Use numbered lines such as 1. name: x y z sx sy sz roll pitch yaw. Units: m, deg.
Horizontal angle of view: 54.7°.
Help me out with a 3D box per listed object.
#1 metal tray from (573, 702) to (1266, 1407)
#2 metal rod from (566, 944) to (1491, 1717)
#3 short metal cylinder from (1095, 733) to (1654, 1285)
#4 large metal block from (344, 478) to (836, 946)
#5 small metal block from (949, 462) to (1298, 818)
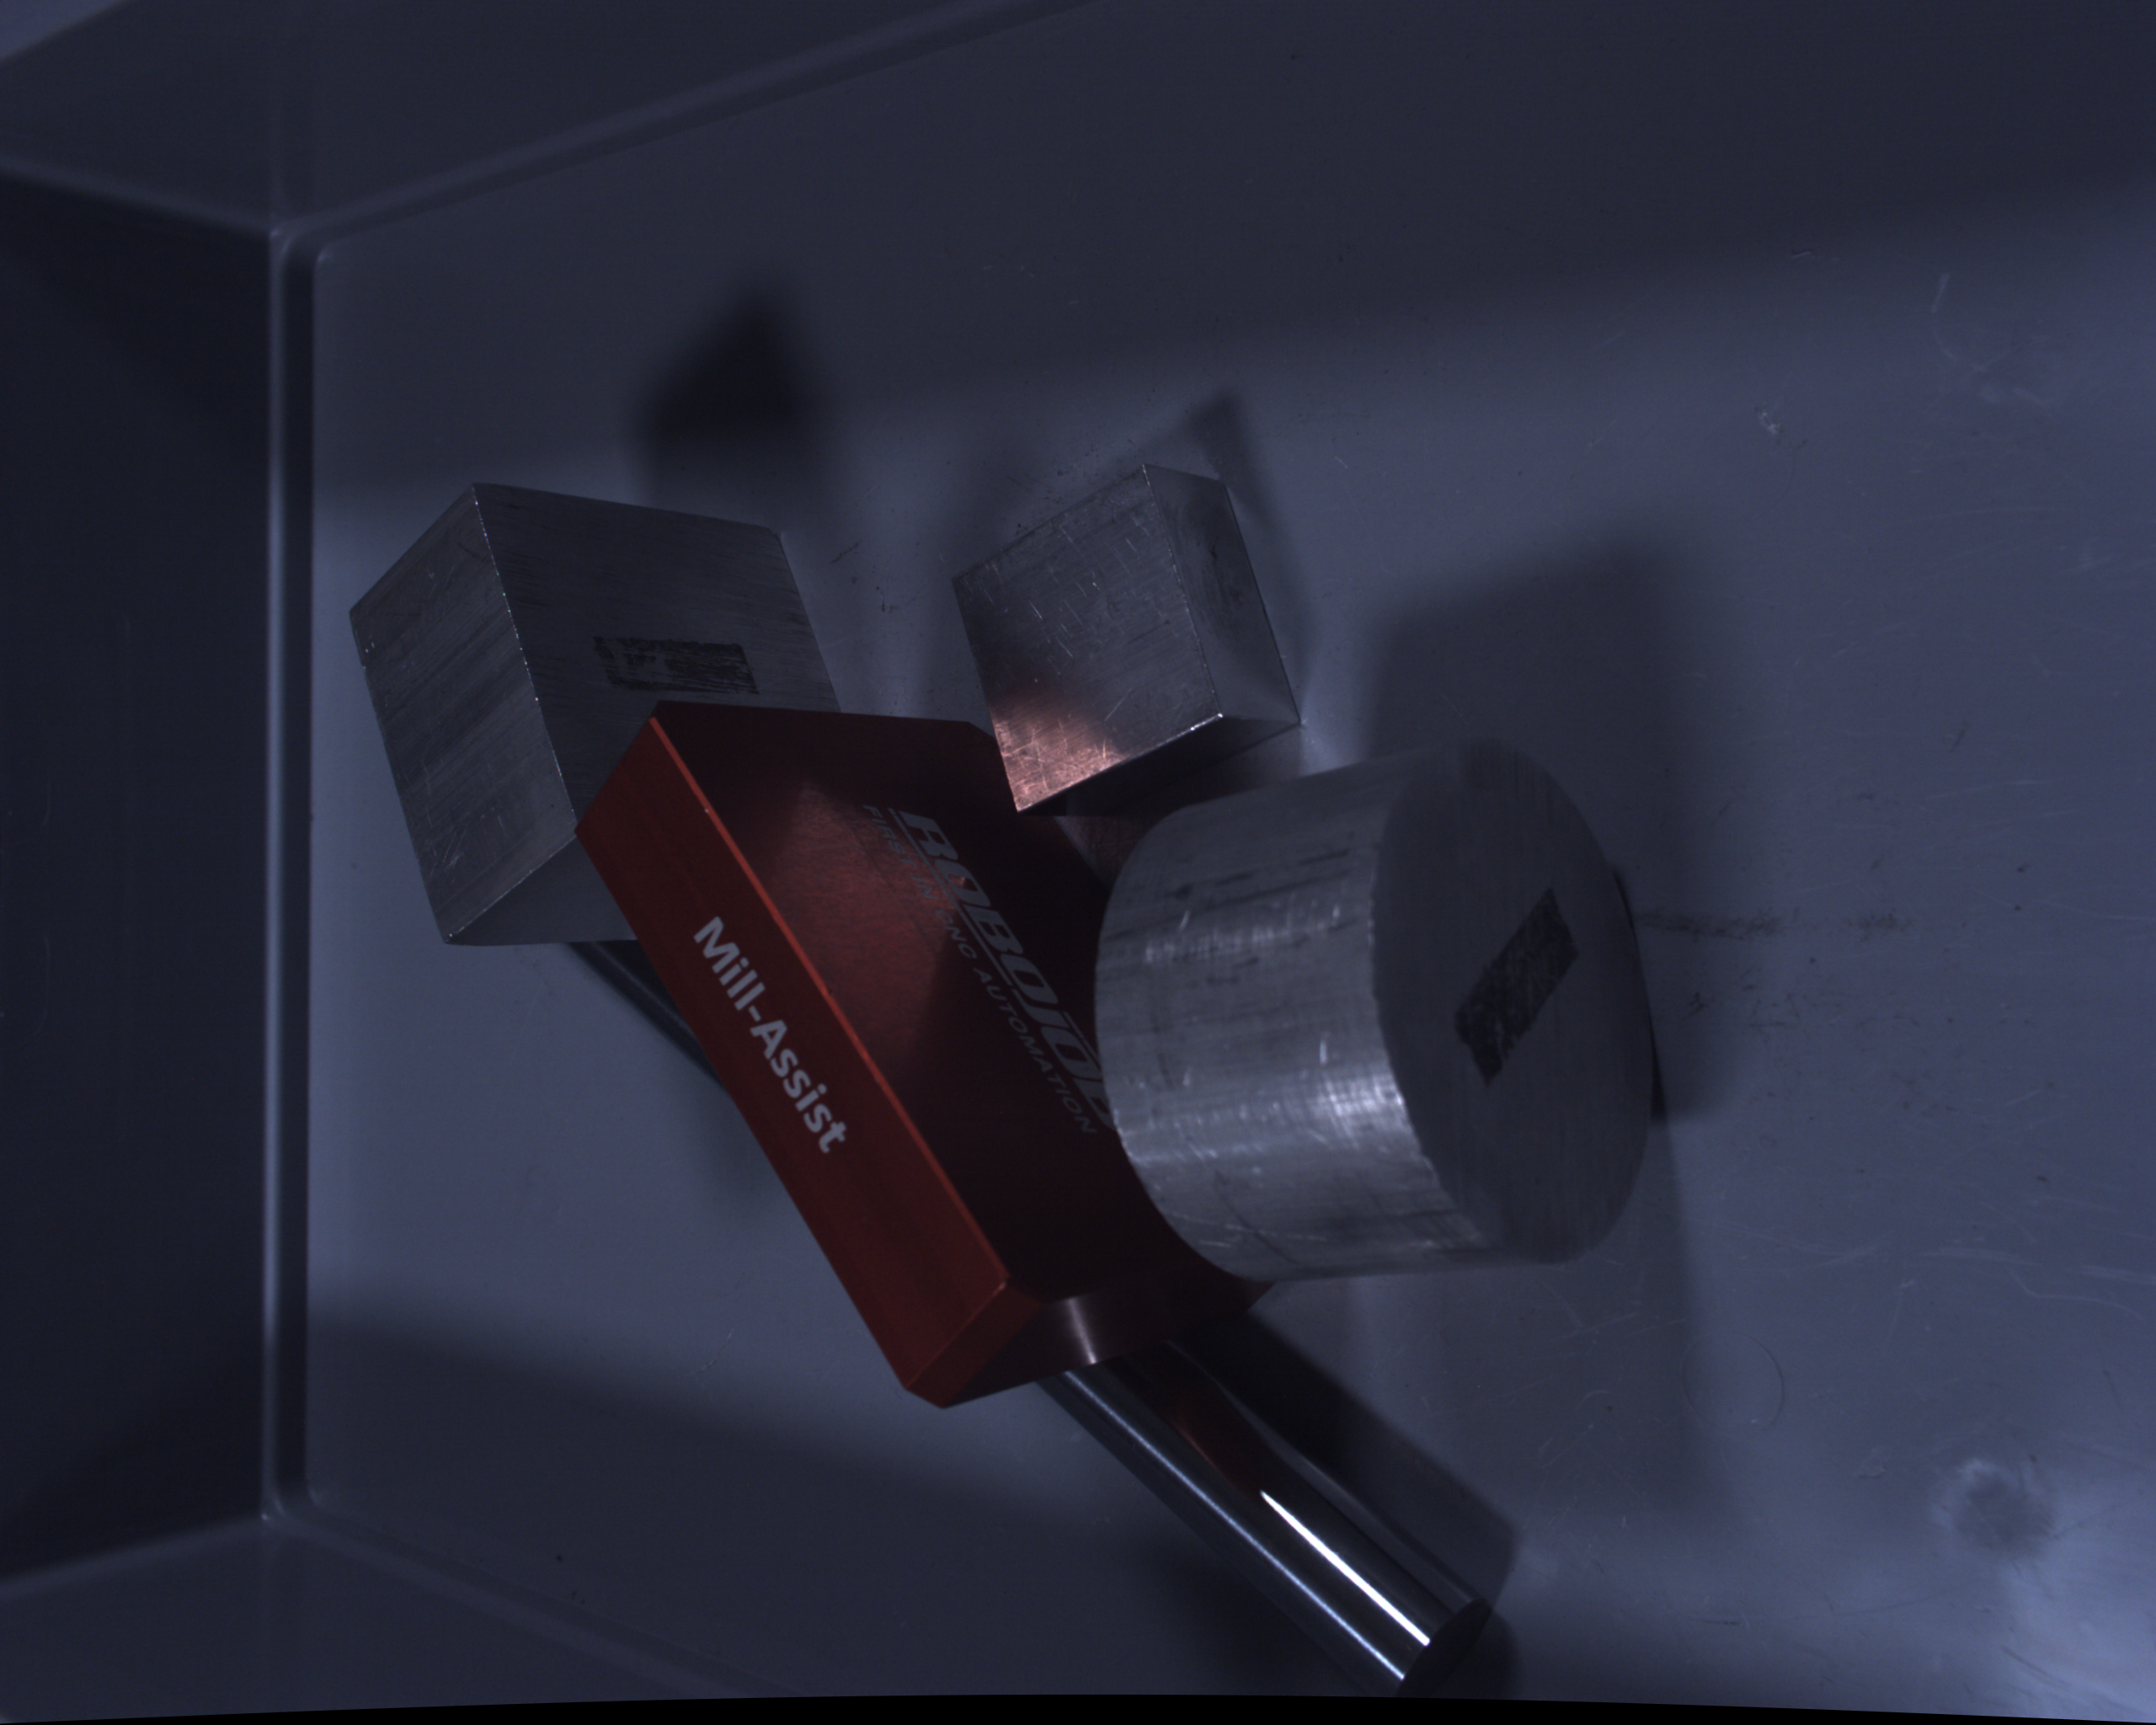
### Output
1. metal tray: -0.022 0.028 0.378 0.030 0.091 0.130 -51 61 27
2. metal rod: -0.040 0.062 0.436 0.300 0.025 0.025 35 112 34
3. short metal cylinder: 0.048 0.024 0.328 0.050 0.081 0.080 -15 81 40
4. large metal block: -0.099 -0.030 0.448 0.050 0.081 0.080 -33 70 35
5. small metal block: 0.008 -0.041 0.395 0.050 0.025 0.050 -25 75 37
